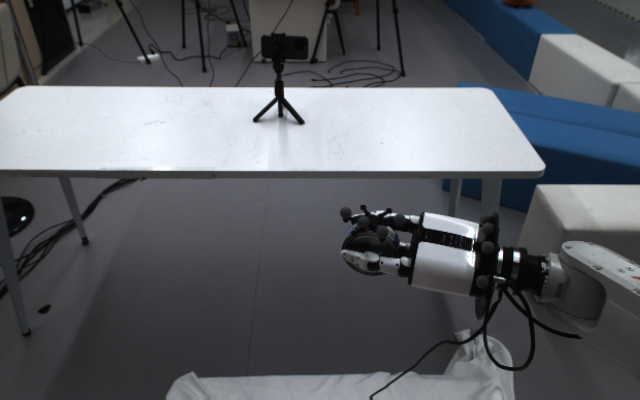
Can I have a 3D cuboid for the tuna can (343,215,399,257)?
[{"bbox_3d":[0.080,0.069,0.739,0.085,0.085,0.034,10,34,12],"label":"tuna can"}]
